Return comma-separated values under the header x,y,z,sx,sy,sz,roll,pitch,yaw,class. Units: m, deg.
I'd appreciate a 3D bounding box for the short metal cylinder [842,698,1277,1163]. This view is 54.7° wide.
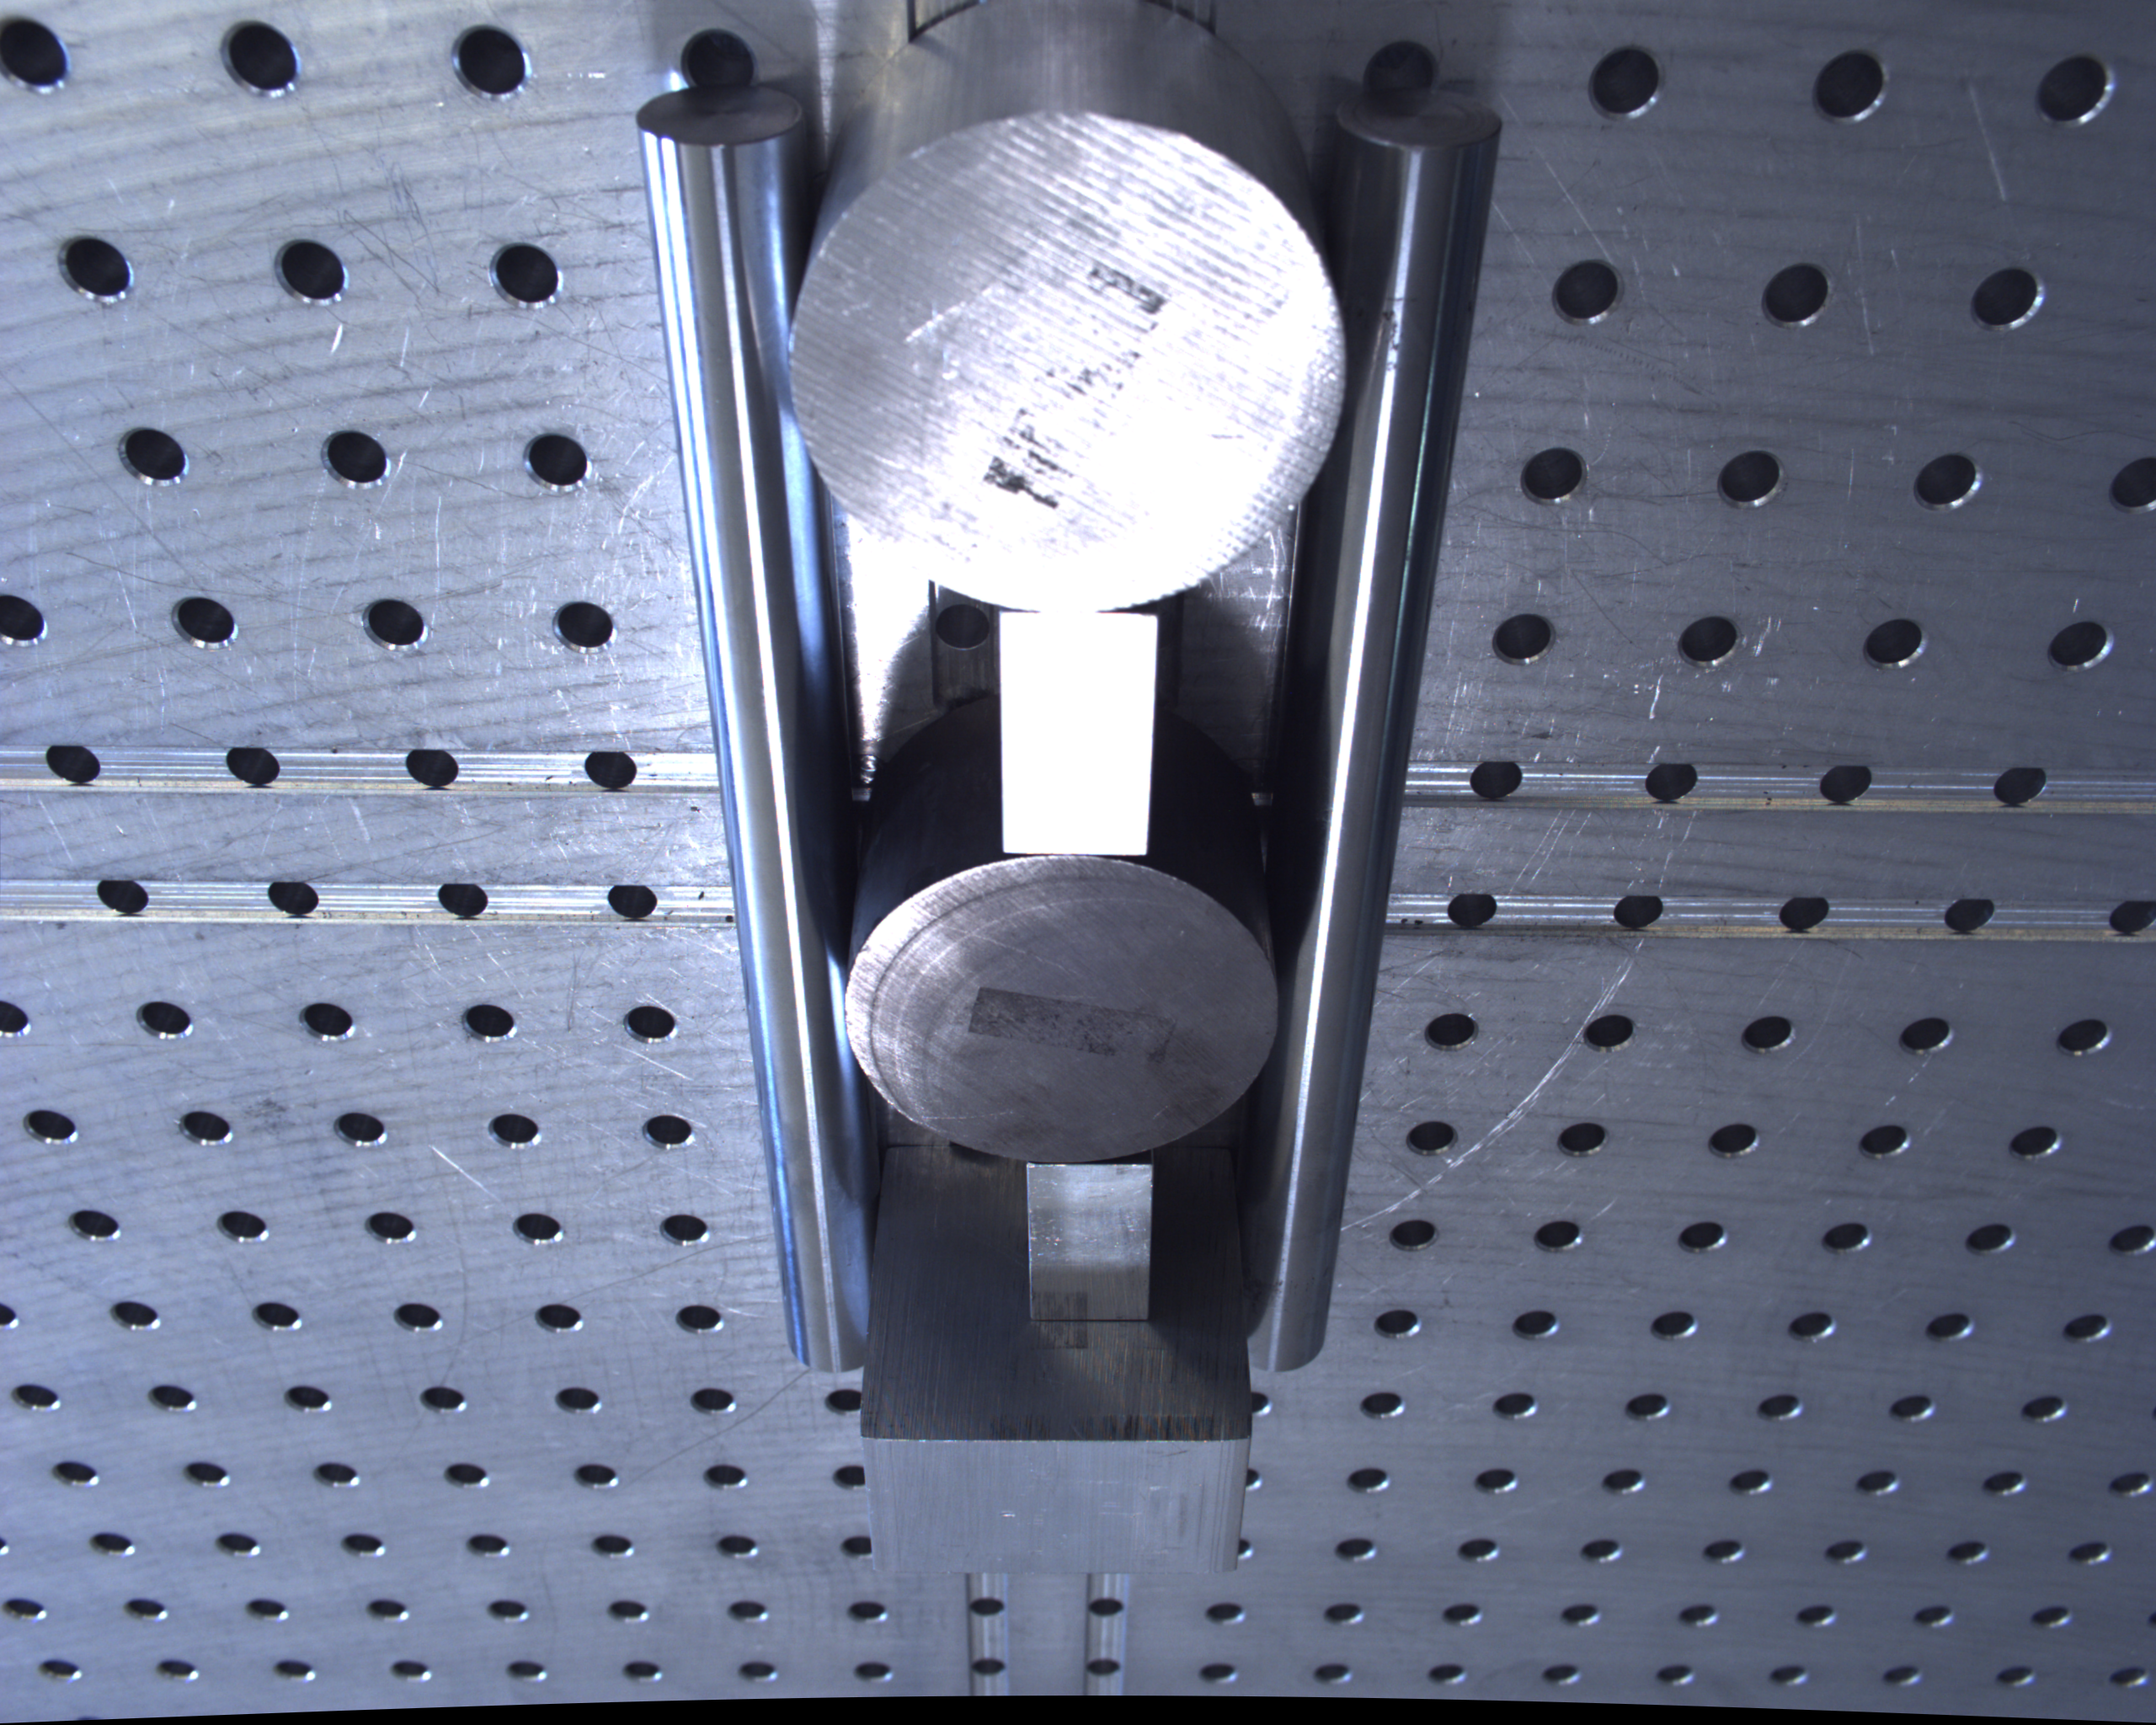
x,y,z,sx,sy,sz,roll,pitch,yaw,class
-0.003,0.013,0.406,0.081,0.050,0.079,0,130,0,short metal cylinder

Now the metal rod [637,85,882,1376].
x,y,z,sx,sy,sz,roll,pitch,yaw,class
-0.056,0.001,0.410,0.025,0.025,0.298,0,130,-1,metal rod

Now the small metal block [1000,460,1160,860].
x,y,z,sx,sy,sz,roll,pitch,yaw,class
0.000,-0.036,0.363,0.025,0.050,0.050,1,130,-1,small metal block

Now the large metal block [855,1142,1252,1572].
x,y,z,sx,sy,sz,roll,pitch,yaw,class
-0.005,0.110,0.469,0.081,0.080,0.050,1,130,-1,large metal block

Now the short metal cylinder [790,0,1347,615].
x,y,z,sx,sy,sz,roll,pitch,yaw,class
-0.001,-0.085,0.322,0.081,0.050,0.079,0,130,0,short metal cylinder

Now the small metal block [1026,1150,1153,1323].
x,y,z,sx,sy,sz,roll,pitch,yaw,class
0.002,0.063,0.448,0.025,0.050,0.050,0,130,0,small metal block

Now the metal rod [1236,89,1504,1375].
x,y,z,sx,sy,sz,roll,pitch,yaw,class
0.050,0.001,0.412,0.025,0.025,0.298,0,130,-1,metal rod
